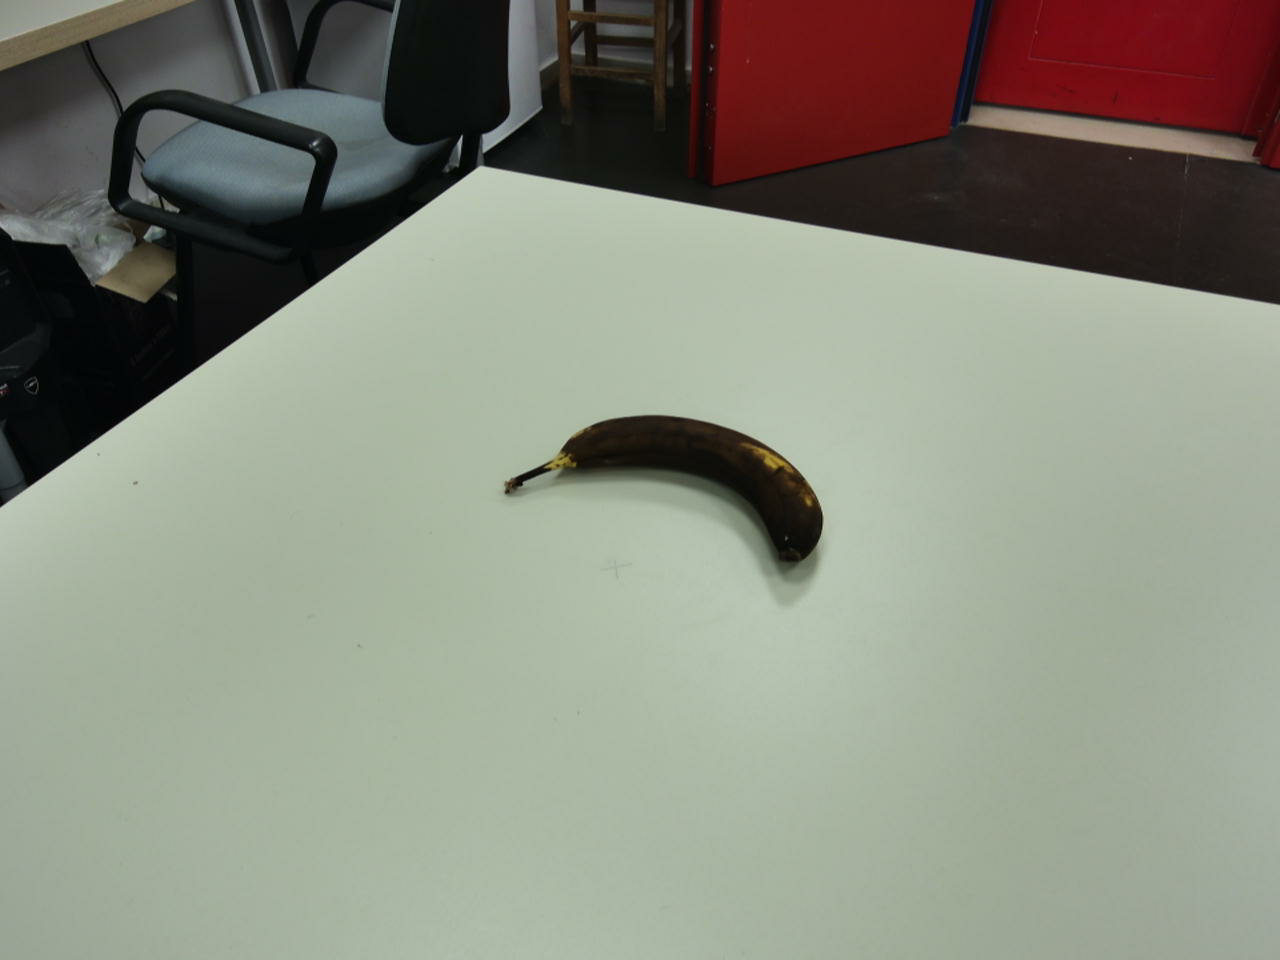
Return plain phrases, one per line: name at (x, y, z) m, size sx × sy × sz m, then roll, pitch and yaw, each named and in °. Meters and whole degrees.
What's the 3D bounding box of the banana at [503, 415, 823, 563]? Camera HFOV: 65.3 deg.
banana at (0.020, -0.006, 0.585) m, size 0.188 × 0.034 × 0.091 m, roll 16°, pitch 42°, yaw 20°
